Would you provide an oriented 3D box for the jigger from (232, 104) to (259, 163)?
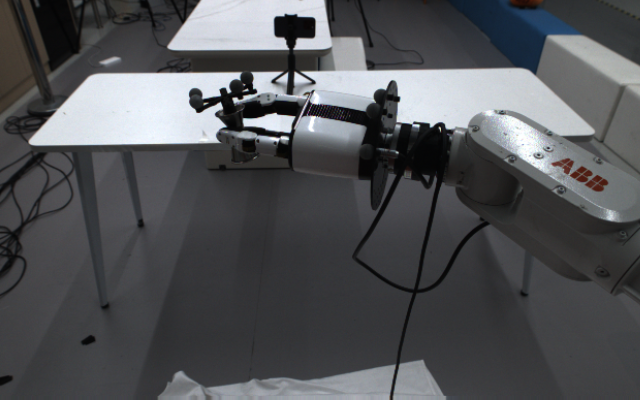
[{"bbox_3d":[-0.107,-0.087,0.641,0.043,0.071,0.043,-12,29,7],"label":"jigger"}]
